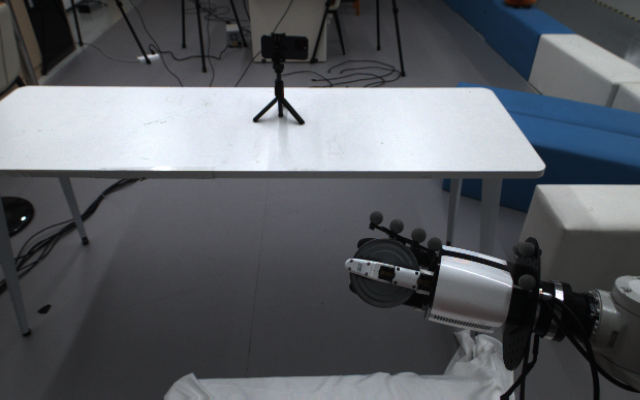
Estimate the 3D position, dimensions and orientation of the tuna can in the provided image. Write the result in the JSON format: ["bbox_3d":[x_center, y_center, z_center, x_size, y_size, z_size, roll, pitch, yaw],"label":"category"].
[{"bbox_3d":[0.084,0.088,0.608,0.085,0.085,0.034,14,-7,16],"label":"tuna can"}]
